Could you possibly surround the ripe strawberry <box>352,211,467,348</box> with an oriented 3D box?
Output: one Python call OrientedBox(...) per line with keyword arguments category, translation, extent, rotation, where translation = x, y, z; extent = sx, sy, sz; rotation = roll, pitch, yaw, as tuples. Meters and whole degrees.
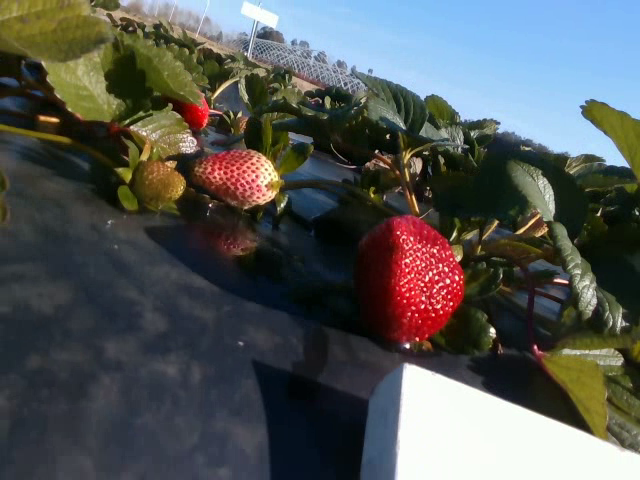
OrientedBox(category="ripe strawberry", translation=(0.026, 0.013, 0.209), extent=(0.058, 0.066, 0.061), rotation=(-30, -17, -12))
